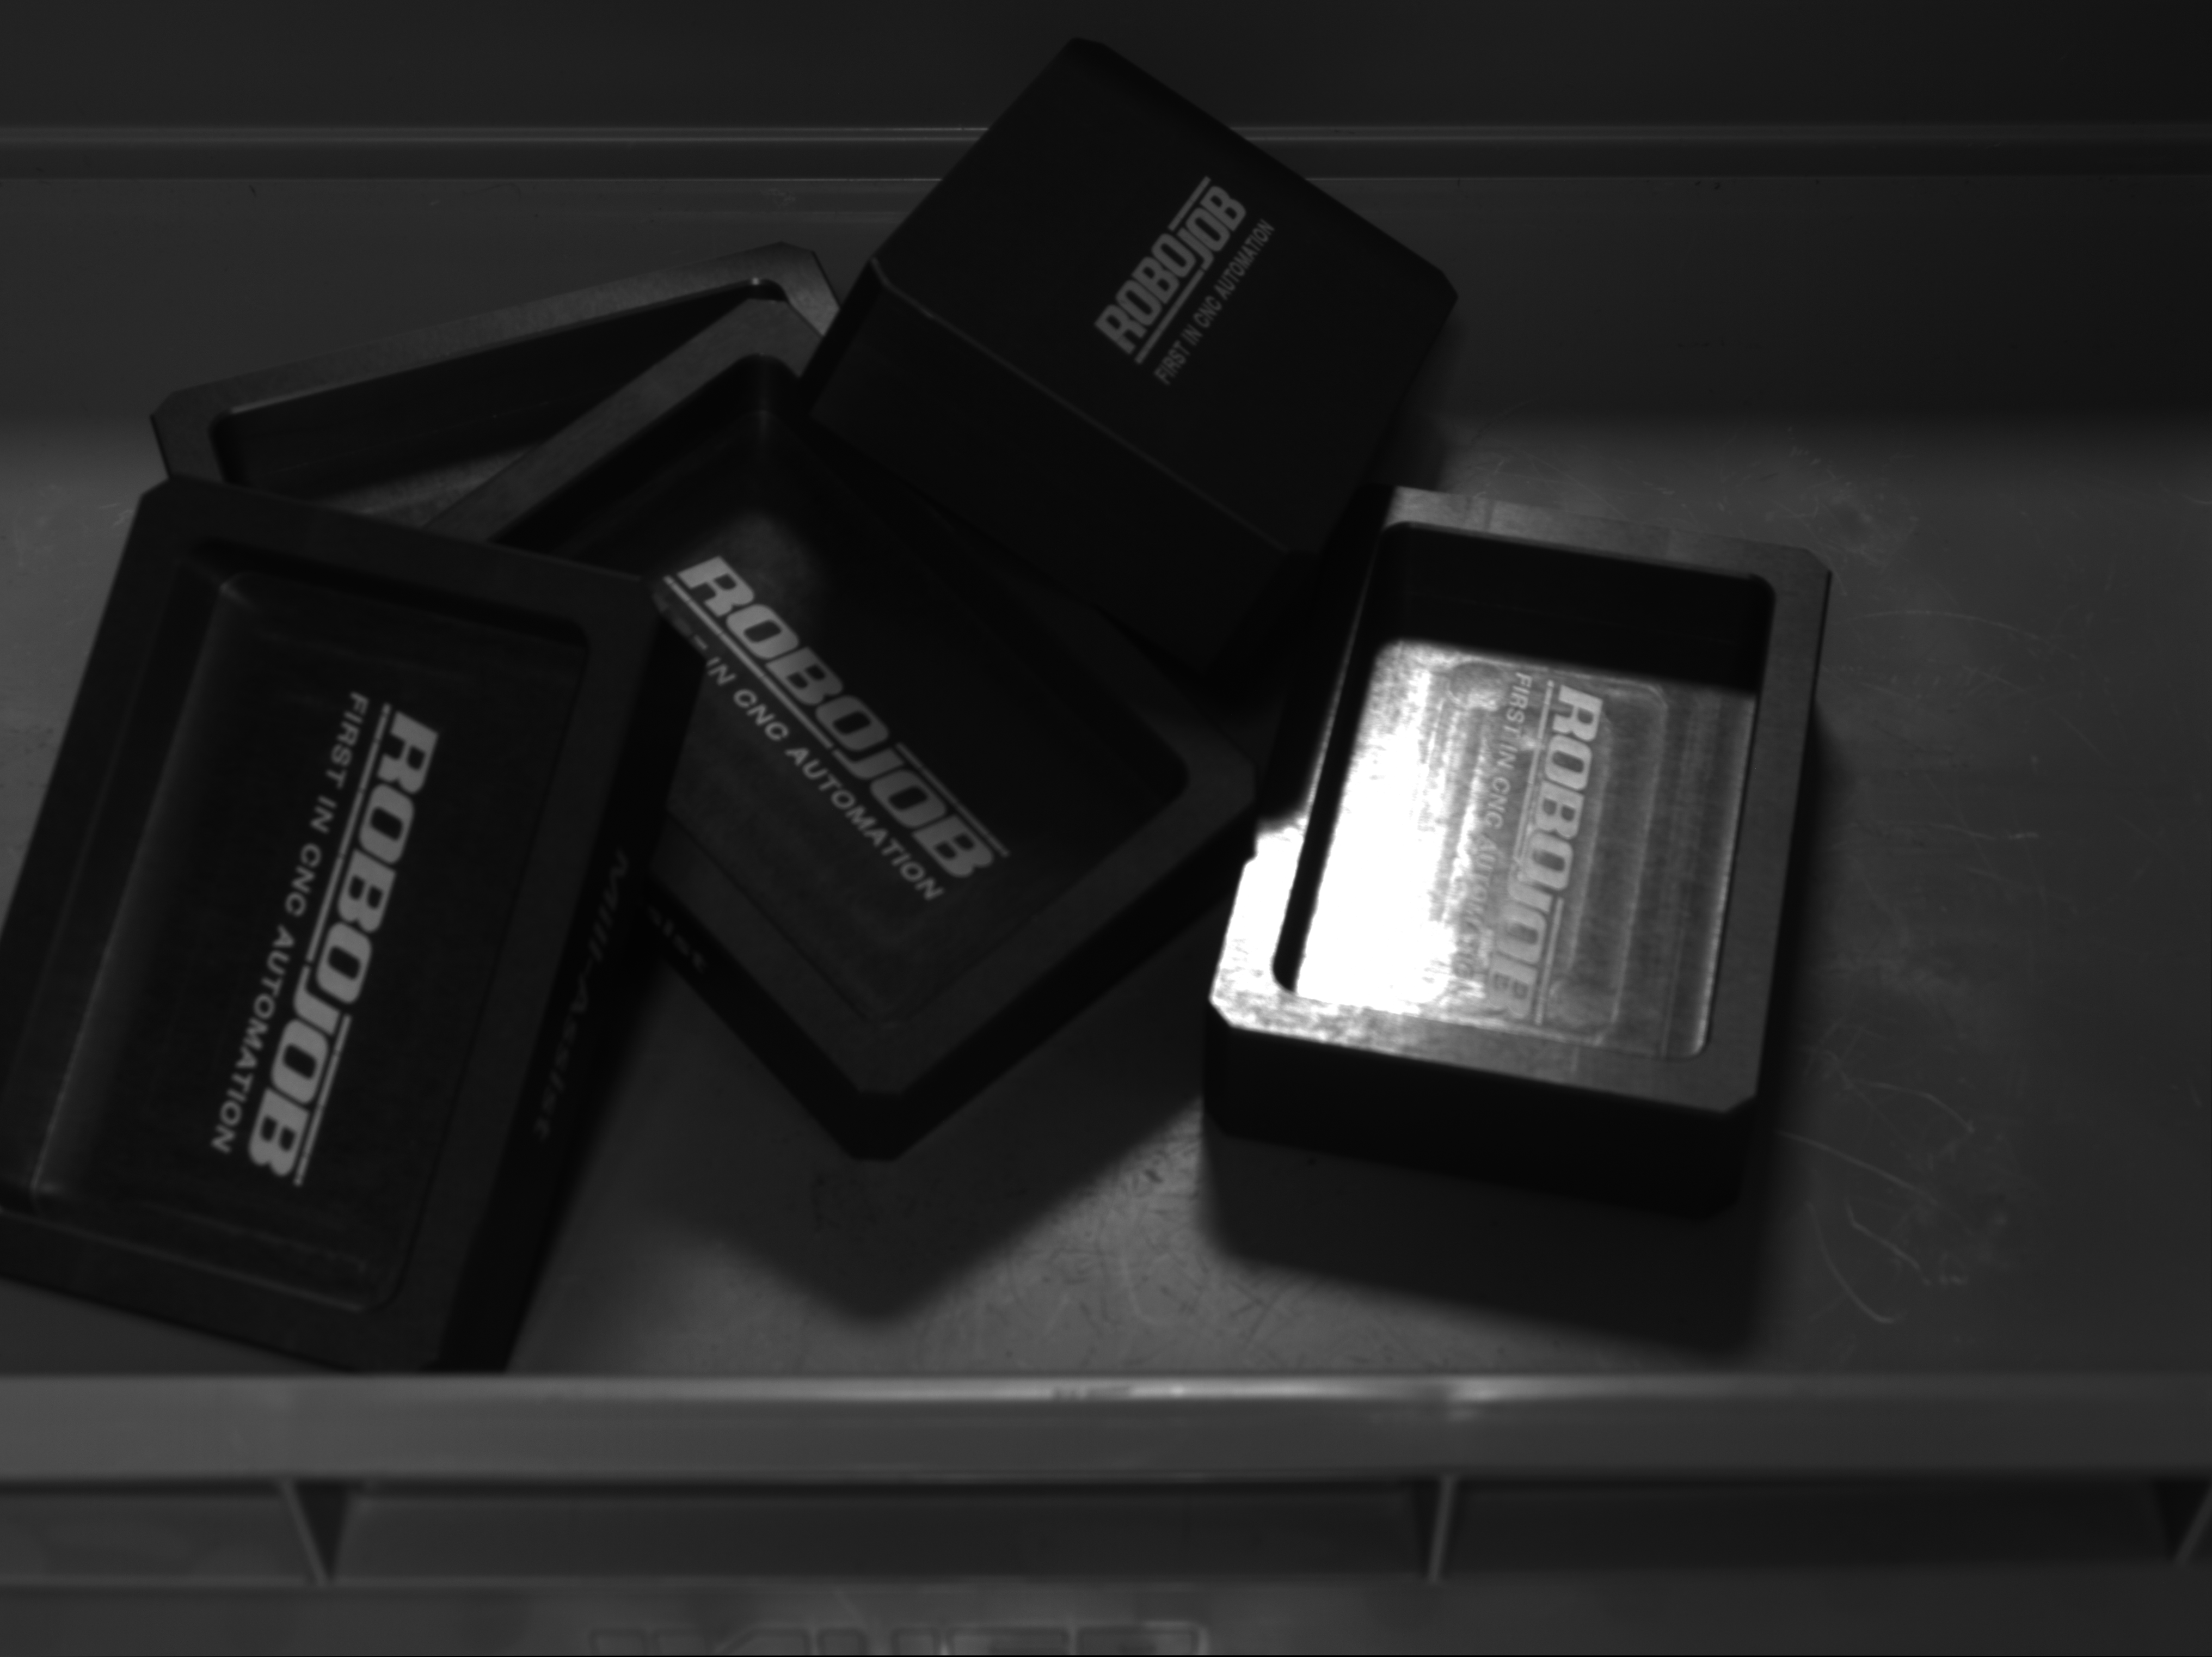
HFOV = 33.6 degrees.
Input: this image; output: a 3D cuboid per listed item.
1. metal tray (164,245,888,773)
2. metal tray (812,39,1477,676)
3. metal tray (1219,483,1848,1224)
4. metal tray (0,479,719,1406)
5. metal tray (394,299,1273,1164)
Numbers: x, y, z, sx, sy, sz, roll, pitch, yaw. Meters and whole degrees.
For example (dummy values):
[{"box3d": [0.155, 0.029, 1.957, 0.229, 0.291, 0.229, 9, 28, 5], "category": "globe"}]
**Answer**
[{"box3d": [-0.101, -0.057, 0.685, 0.130, 0.030, 0.090, -16, 52, -13], "category": "metal tray"}, {"box3d": [0.011, -0.089, 0.668, 0.090, 0.030, 0.130, 33, 34, -2], "category": "metal tray"}, {"box3d": [0.076, 0.001, 0.637, 0.090, 0.030, 0.130, 10, 50, 8], "category": "metal tray"}, {"box3d": [-0.124, 0.017, 0.584, 0.090, 0.030, 0.130, 13, 80, 11], "category": "metal tray"}, {"box3d": [-0.047, -0.019, 0.625, 0.090, 0.030, 0.130, -39, 74, -20], "category": "metal tray"}]
